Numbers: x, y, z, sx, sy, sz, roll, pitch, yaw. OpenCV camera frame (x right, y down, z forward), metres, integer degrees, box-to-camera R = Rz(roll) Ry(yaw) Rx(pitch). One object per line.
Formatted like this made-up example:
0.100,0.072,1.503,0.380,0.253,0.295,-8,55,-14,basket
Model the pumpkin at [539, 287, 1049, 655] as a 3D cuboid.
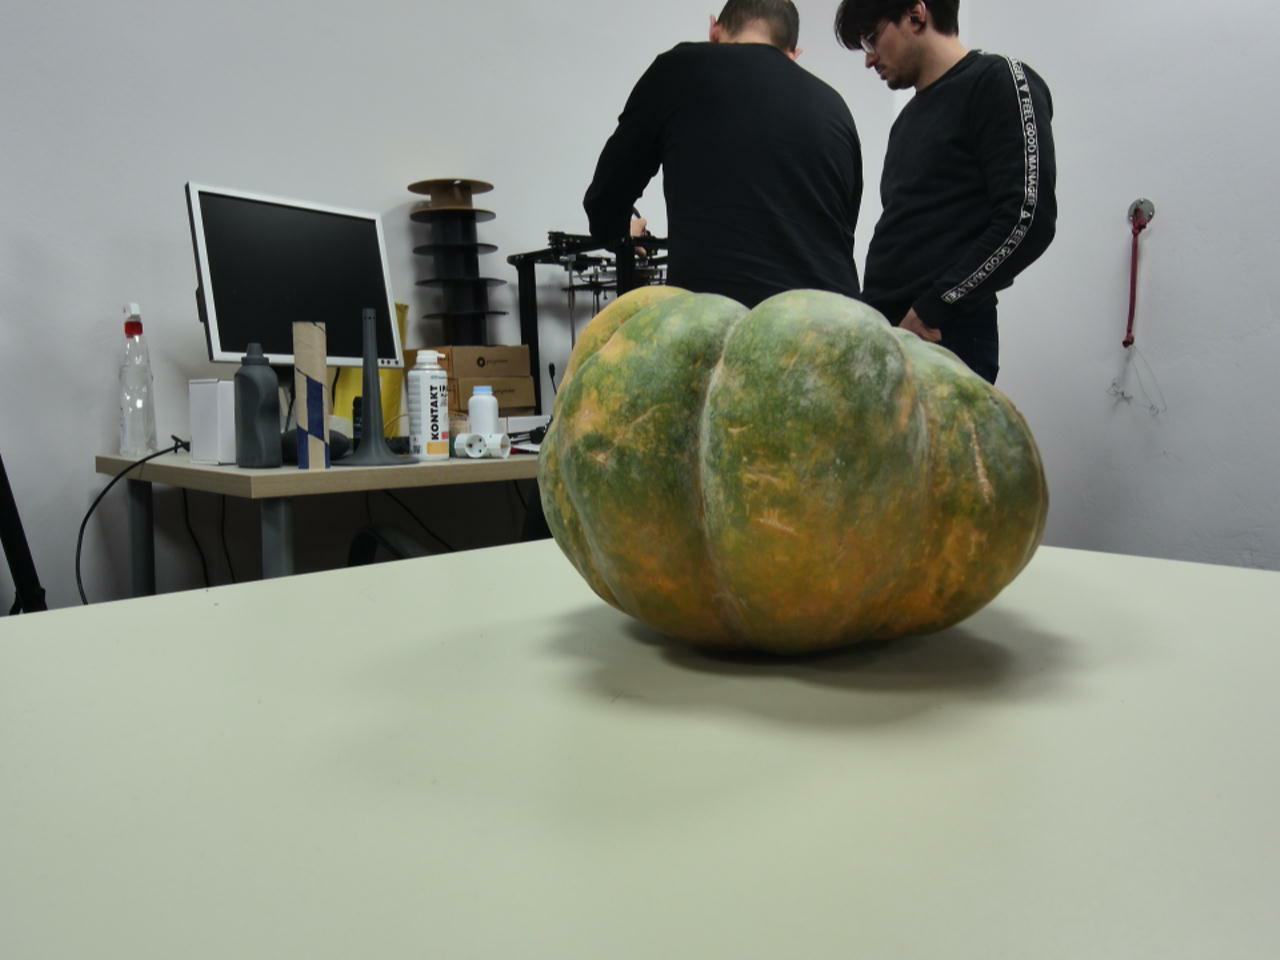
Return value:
0.071,-0.009,0.495,0.237,0.173,0.270,0,3,-3,pumpkin
